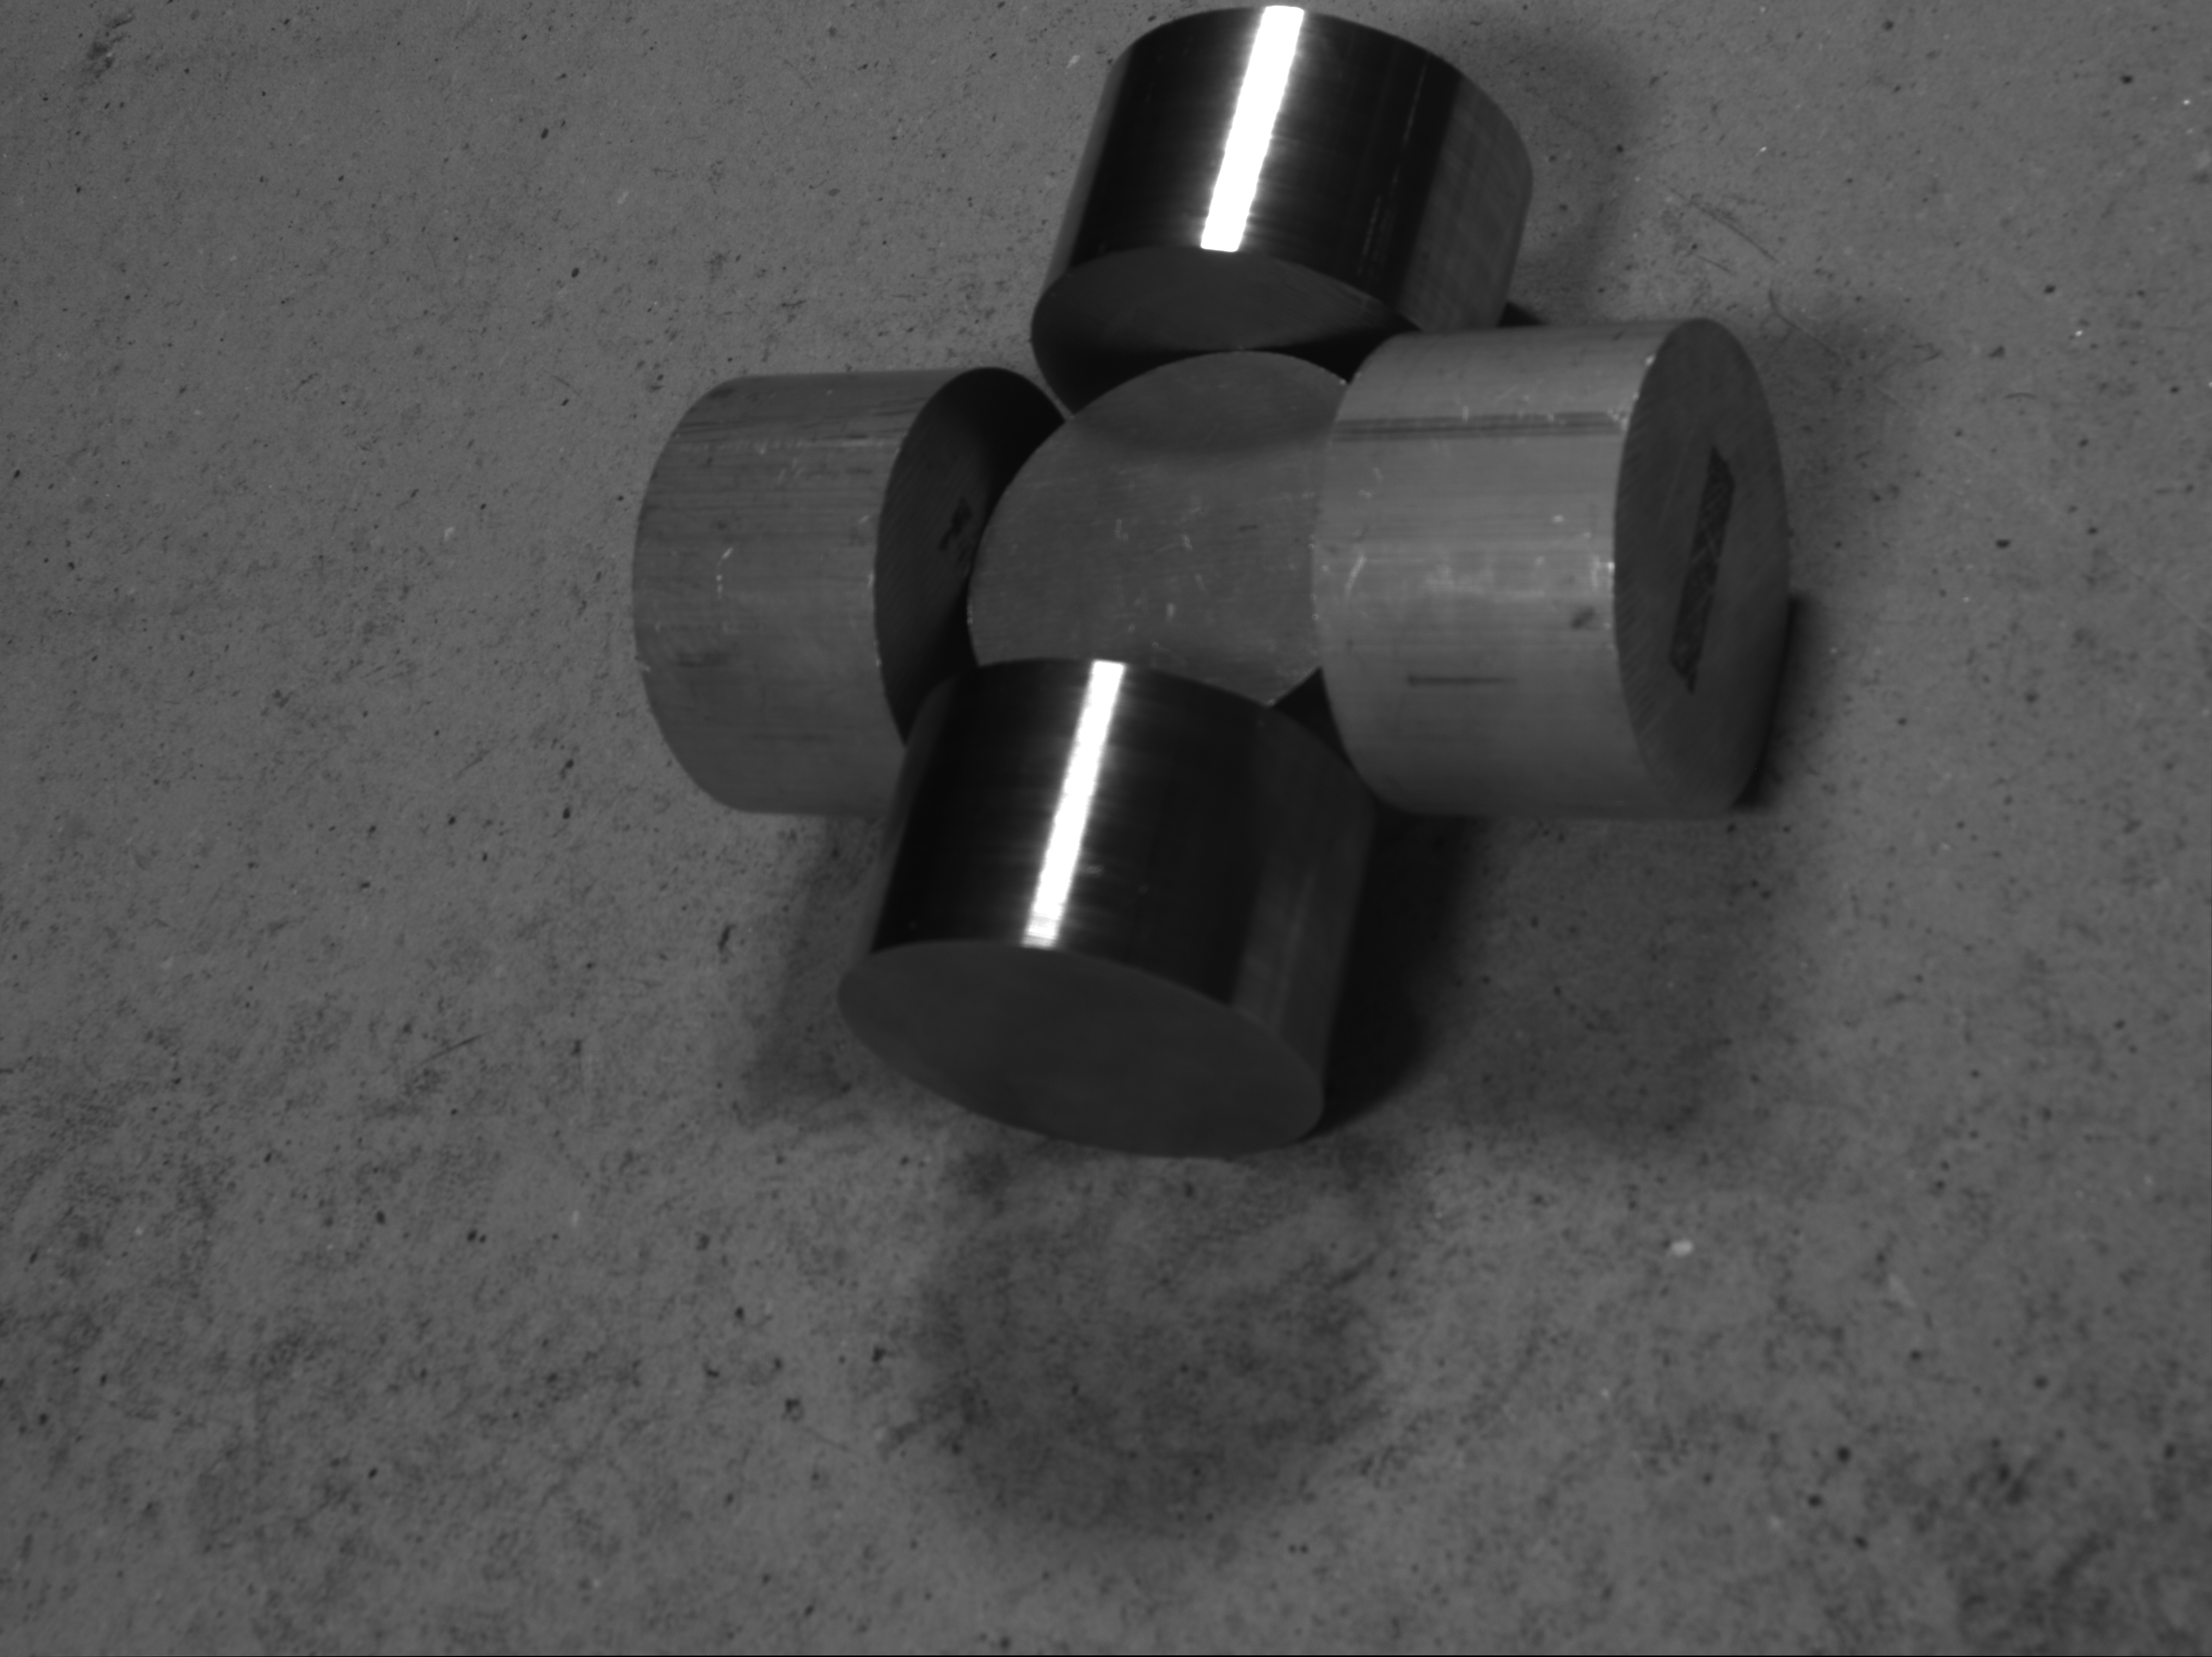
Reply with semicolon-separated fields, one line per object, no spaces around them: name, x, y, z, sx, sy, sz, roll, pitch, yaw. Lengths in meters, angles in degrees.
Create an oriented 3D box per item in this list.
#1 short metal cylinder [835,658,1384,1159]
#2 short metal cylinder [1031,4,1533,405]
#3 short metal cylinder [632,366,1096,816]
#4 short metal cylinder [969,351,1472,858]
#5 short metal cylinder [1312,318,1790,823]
short metal cylinder;0.001;0.014;0.599;0.080;0.080;0.050;0;61;29
short metal cylinder;0.032;-0.101;0.653;0.080;0.080;0.050;1;63;29
short metal cylinder;-0.041;-0.042;0.657;0.050;0.080;0.080;2;62;30
short metal cylinder;0.023;-0.036;0.638;0.080;0.050;0.080;-13;56;21
short metal cylinder;0.074;-0.042;0.595;0.050;0.080;0.080;2;62;30
